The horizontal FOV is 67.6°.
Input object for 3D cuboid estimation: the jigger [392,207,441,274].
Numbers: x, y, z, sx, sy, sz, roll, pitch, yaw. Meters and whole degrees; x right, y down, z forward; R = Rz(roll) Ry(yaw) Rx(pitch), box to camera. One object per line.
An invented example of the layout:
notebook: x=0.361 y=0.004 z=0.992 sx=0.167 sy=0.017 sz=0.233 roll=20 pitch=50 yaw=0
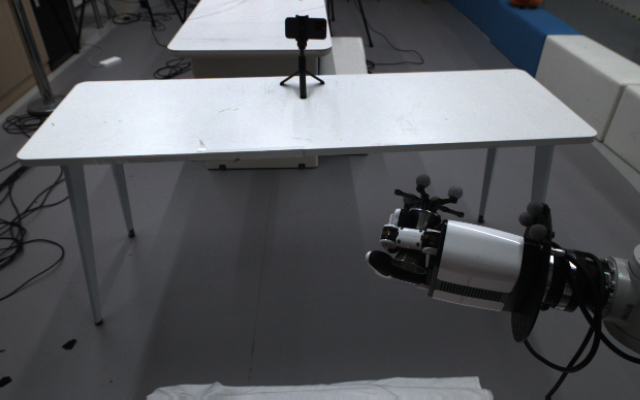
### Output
jigger: x=0.117 y=0.046 z=0.580 sx=0.043 sy=0.043 sz=0.071 roll=16 pitch=70 yaw=19
